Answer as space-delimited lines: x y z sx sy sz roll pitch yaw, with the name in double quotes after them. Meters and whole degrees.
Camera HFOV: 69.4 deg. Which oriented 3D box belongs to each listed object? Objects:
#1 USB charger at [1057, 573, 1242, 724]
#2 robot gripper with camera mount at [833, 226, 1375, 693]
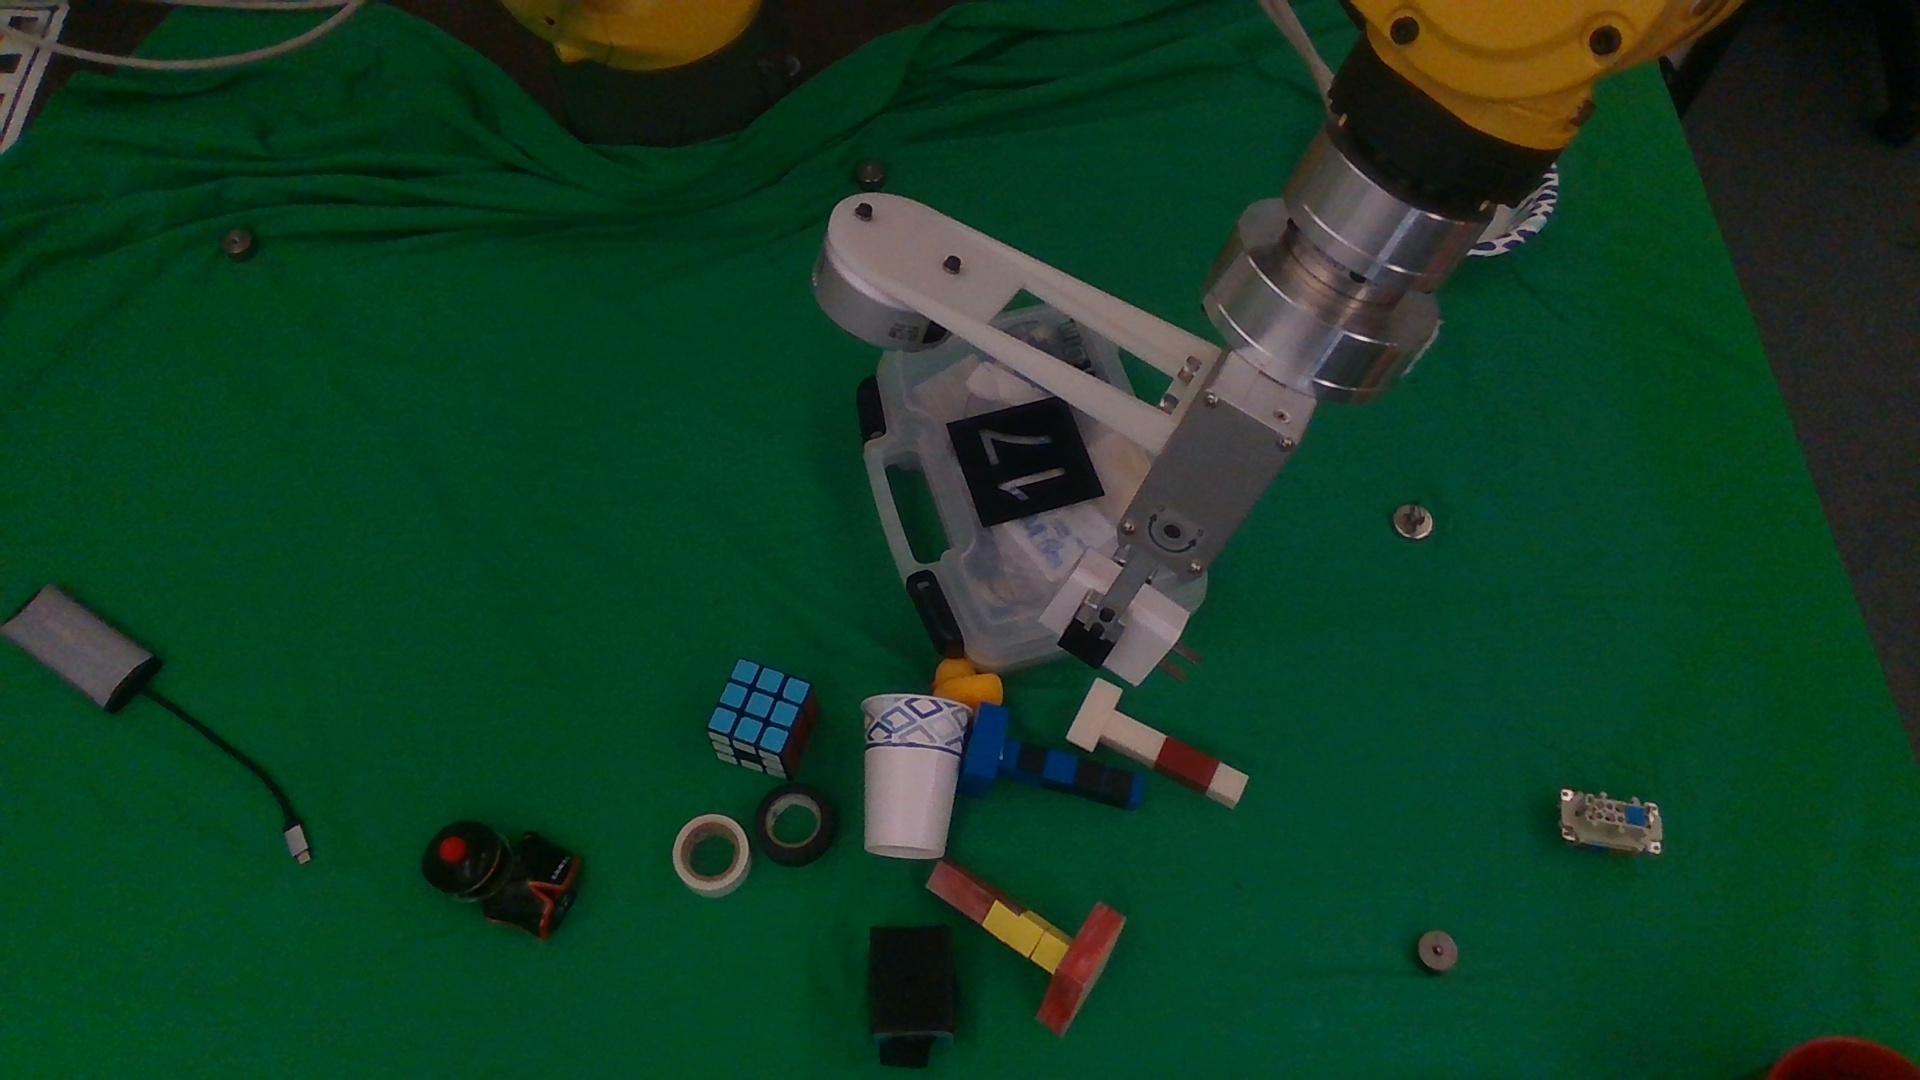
0.082 0.050 0.583 0.075 0.045 0.029 35 44 3 "USB charger"
0.028 -0.042 0.555 0.193 0.159 0.118 30 43 11 "robot gripper with camera mount"
